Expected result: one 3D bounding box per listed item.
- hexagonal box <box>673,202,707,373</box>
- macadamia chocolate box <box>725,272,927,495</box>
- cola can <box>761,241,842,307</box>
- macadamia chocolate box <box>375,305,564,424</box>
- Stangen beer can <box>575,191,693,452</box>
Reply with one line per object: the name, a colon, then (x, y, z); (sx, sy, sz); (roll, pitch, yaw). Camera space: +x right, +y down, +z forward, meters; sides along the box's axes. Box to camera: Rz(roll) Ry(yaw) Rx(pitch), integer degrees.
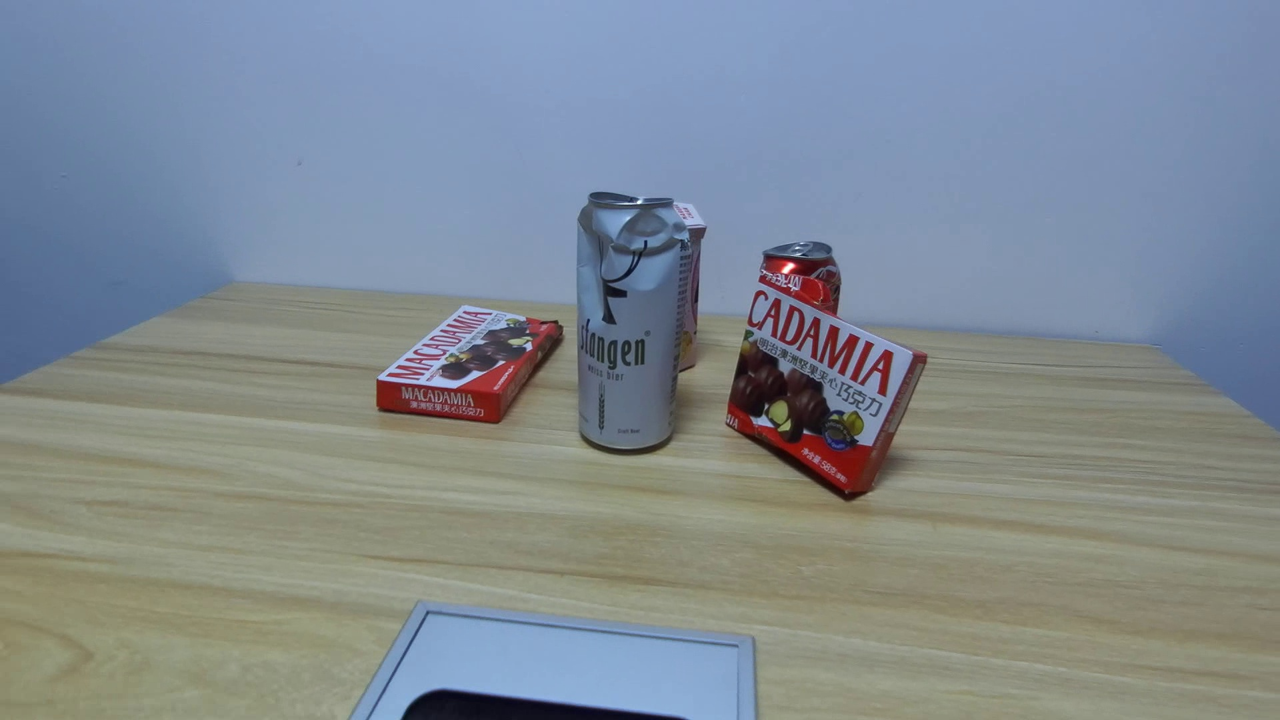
hexagonal box: (0.007, -0.062, 0.597); (0.085, 0.135, 0.092); (-4, 25, -13)
macadamia chocolate box: (0.117, 0.011, 0.463); (0.056, 0.112, 0.126); (-10, 26, -30)
cola can: (0.128, -0.038, 0.576); (0.069, 0.112, 0.065); (-4, 23, -14)
macadamia chocolate box: (-0.130, -0.004, 0.590); (0.102, 0.027, 0.187); (7, 24, 6)
Stangen beer can: (-0.006, -0.023, 0.464); (0.066, 0.166, 0.065); (-7, 24, -21)
